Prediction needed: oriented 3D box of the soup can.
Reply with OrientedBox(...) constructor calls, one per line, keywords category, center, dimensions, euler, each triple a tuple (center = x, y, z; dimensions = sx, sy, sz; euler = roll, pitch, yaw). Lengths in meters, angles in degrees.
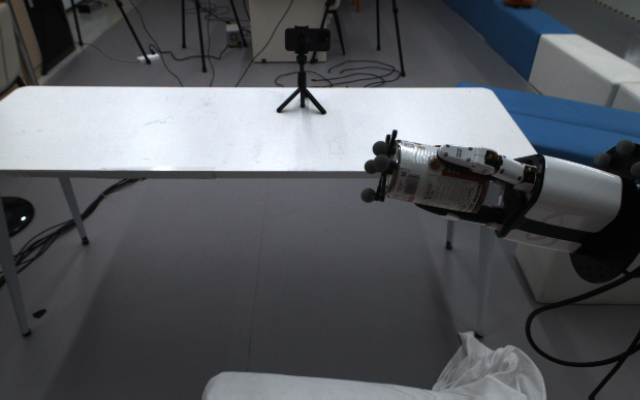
OrientedBox(category="soup can", center=(0.130, -0.028, 0.542), dimensions=(0.101, 0.067, 0.067), euler=(10, 35, -2))
